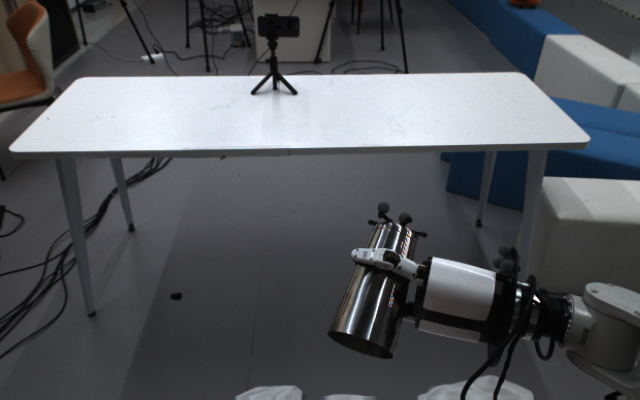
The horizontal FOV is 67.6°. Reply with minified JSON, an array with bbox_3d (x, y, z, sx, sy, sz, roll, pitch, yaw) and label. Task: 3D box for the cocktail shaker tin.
[{"bbox_3d":[0.080,0.118,0.665,0.093,0.093,0.170,15,62,17],"label":"cocktail shaker tin"}]
